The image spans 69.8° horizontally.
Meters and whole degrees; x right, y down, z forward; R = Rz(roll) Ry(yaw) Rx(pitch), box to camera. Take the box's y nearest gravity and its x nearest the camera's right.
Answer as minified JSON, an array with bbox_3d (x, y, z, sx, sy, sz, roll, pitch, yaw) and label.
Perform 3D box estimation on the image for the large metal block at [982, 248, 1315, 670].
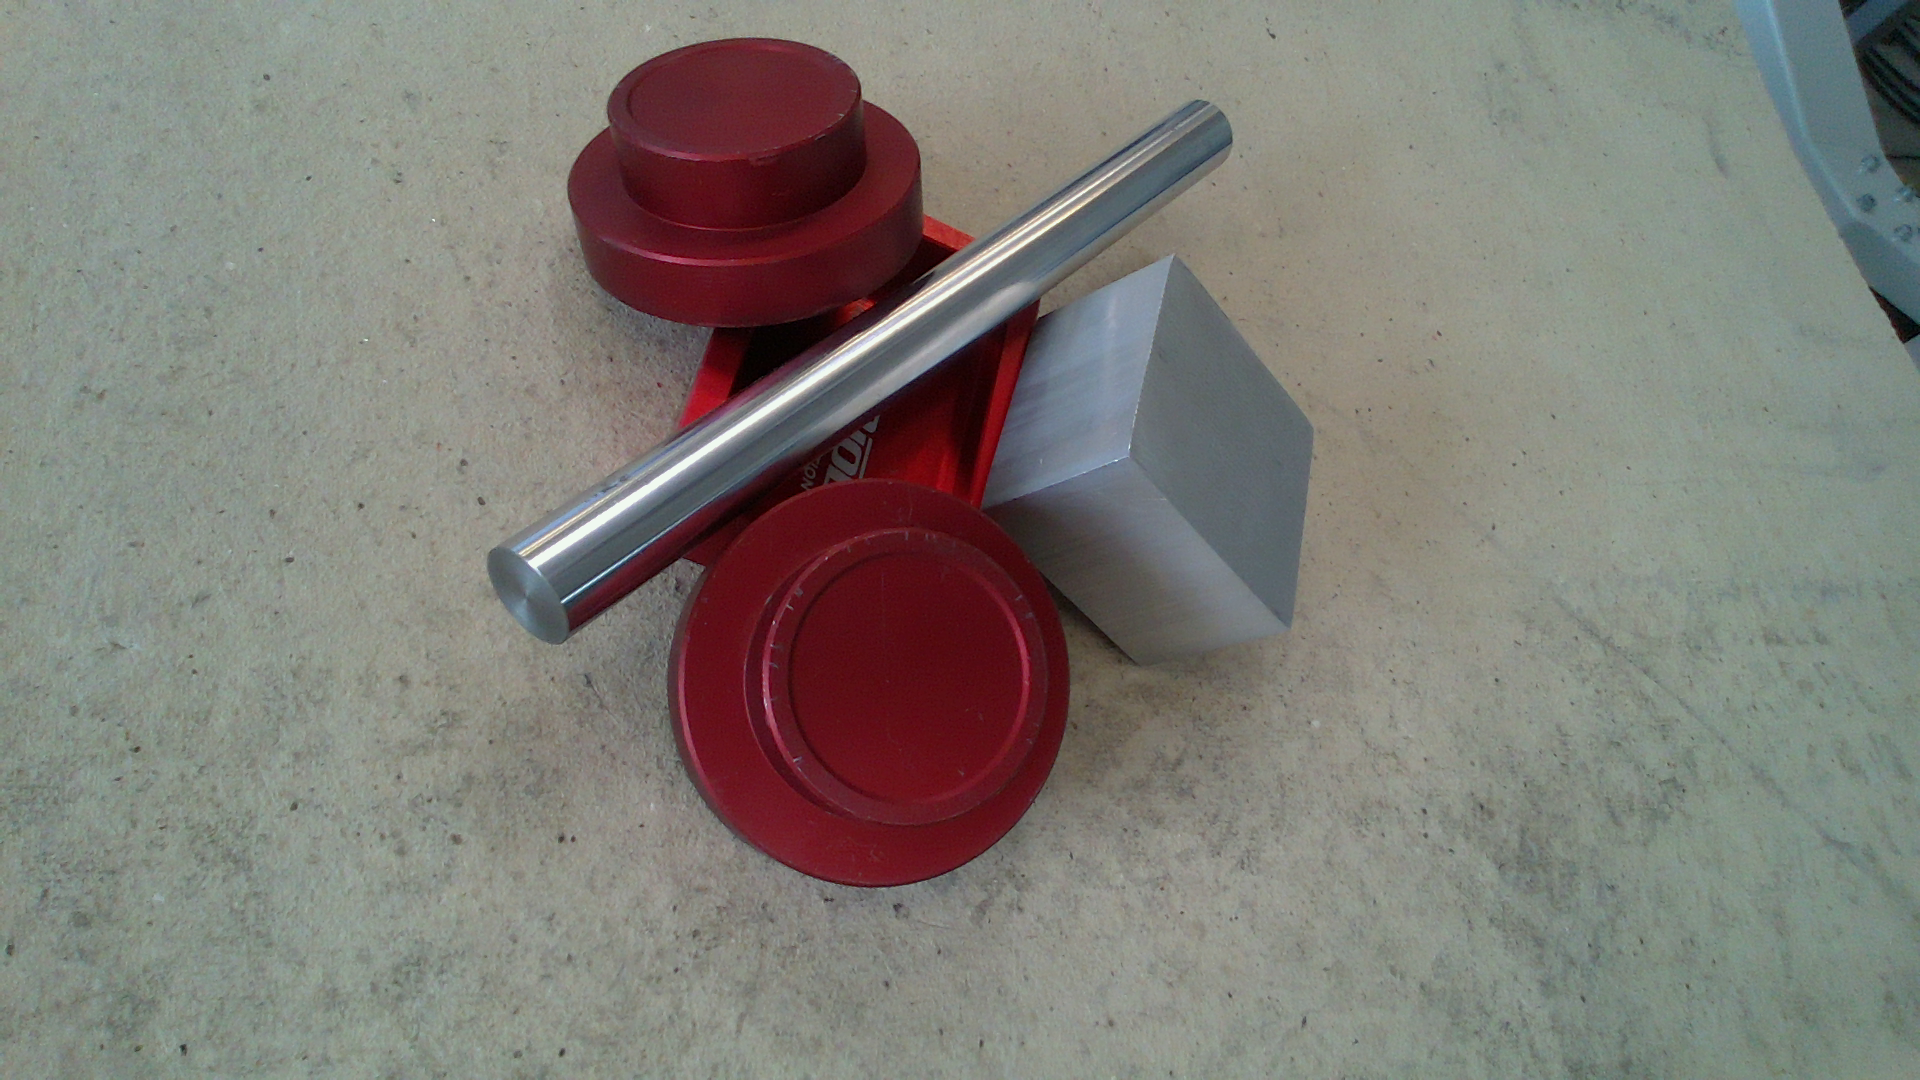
[{"bbox_3d":[0.058,-0.022,0.400,0.080,0.050,0.080,43,46,-30],"label":"large metal block"}]

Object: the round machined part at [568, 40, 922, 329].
[{"bbox_3d":[-0.060,-0.105,0.385,0.098,0.042,0.098,-1,45,1],"label":"round machined part"}]

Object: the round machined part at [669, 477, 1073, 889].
[{"bbox_3d":[-0.017,0.033,0.327,0.098,0.042,0.098,3,81,-21],"label":"round machined part"}]

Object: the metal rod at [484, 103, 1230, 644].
[{"bbox_3d":[-0.005,-0.065,0.389,0.025,0.025,0.301,46,51,4],"label":"metal rod"}]

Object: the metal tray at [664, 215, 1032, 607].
[{"bbox_3d":[-0.030,-0.043,0.397,0.090,0.030,0.130,22,53,-15],"label":"metal tray"}]
